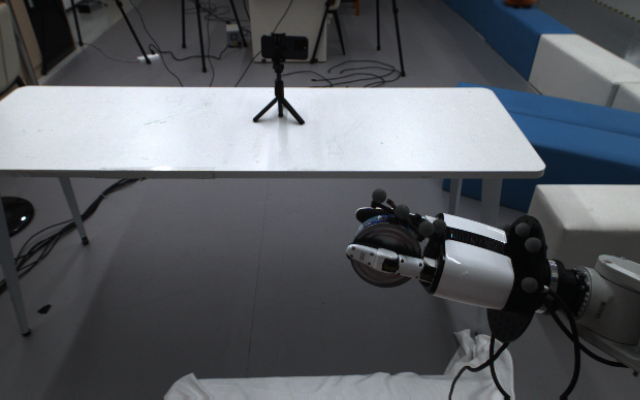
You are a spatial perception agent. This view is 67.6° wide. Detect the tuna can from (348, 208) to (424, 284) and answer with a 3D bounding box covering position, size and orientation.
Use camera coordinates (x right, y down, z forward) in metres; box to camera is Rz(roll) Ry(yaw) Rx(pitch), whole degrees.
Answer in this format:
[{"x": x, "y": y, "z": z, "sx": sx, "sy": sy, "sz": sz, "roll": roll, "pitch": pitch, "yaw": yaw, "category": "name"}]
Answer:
[{"x": 0.083, "y": 0.060, "z": 0.596, "sx": 0.085, "sy": 0.085, "sz": 0.034, "roll": 7, "pitch": 16, "yaw": 6, "category": "tuna can"}]
